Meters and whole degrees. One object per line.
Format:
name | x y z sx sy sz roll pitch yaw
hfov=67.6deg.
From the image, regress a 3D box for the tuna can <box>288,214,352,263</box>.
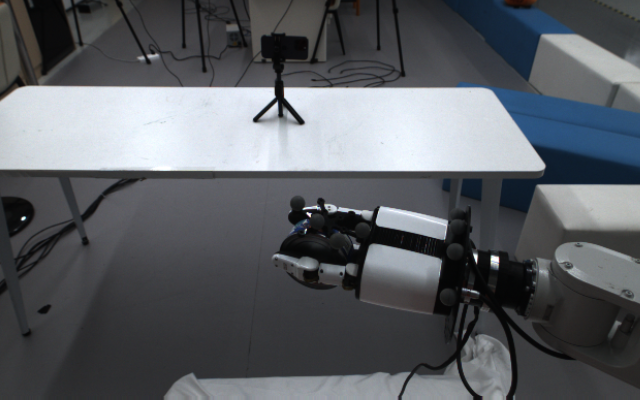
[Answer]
tuna can | -0.001 0.063 0.581 0.085 0.085 0.034 12 33 14
